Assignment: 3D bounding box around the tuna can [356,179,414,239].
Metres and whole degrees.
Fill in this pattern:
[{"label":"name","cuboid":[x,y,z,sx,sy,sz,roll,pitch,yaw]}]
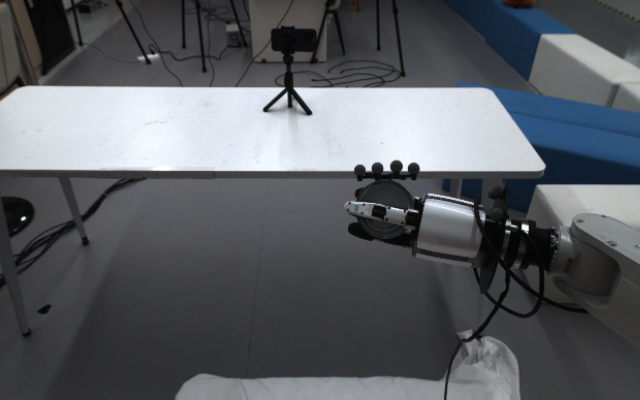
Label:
[{"label":"tuna can","cuboid":[0.098,0.013,0.710,0.085,0.085,0.034,15,2,18]}]
